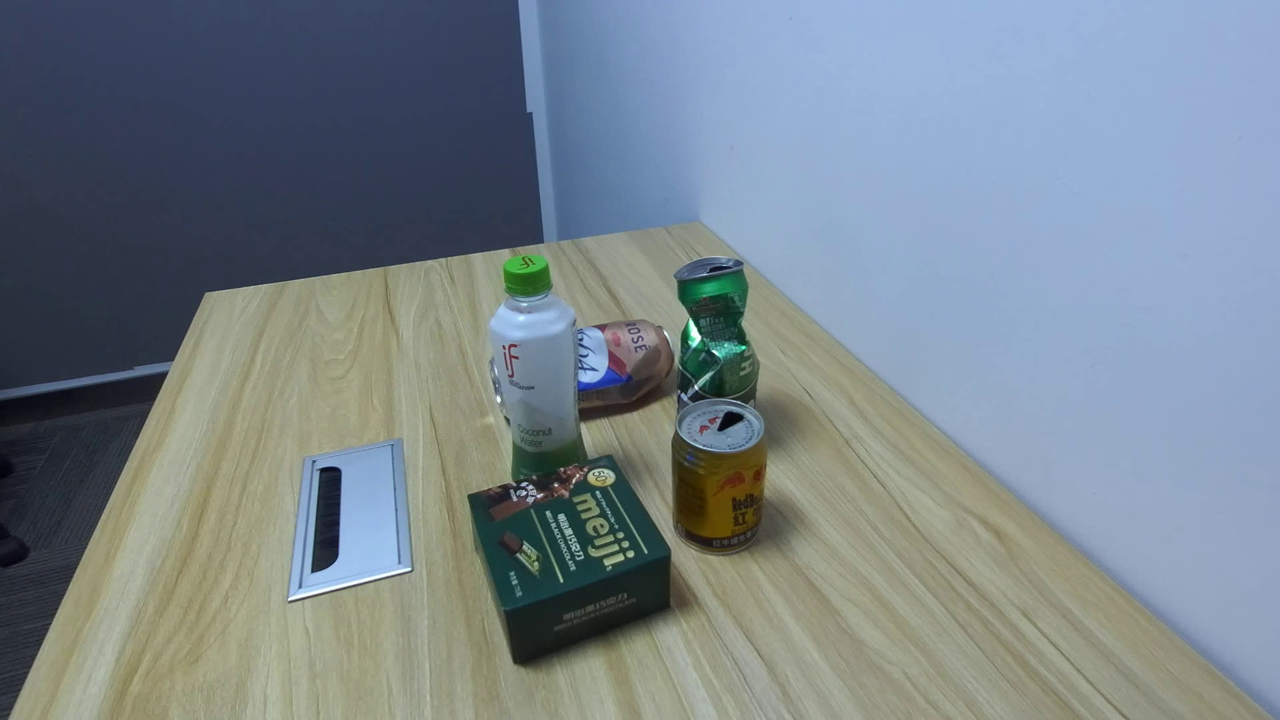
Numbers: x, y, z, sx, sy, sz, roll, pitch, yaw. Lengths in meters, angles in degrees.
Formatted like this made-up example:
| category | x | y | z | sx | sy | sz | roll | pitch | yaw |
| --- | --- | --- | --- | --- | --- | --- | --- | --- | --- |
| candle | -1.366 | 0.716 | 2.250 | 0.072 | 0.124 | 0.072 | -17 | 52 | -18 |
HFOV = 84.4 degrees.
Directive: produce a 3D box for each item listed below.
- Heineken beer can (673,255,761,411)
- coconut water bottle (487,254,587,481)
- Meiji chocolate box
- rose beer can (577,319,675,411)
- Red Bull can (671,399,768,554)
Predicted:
| category | x | y | z | sx | sy | sz | roll | pitch | yaw |
| --- | --- | --- | --- | --- | --- | --- | --- | --- | --- |
| Heineken beer can | 0.063 | 0.000 | 0.576 | 0.067 | 0.159 | 0.078 | -23 | 30 | -38 |
| coconut water bottle | -0.074 | 0.016 | 0.523 | 0.063 | 0.189 | 0.063 | -2 | 30 | 1 |
| Meiji chocolate box | -0.049 | 0.128 | 0.474 | 0.109 | 0.056 | 0.109 | -14 | 34 | -19 |
| rose beer can | -0.052 | 0.006 | 0.658 | 0.168 | 0.069 | 0.069 | -13 | 14 | -20 |
| Red Bull can | 0.056 | 0.081 | 0.502 | 0.069 | 0.092 | 0.069 | -1 | 33 | 1 |
